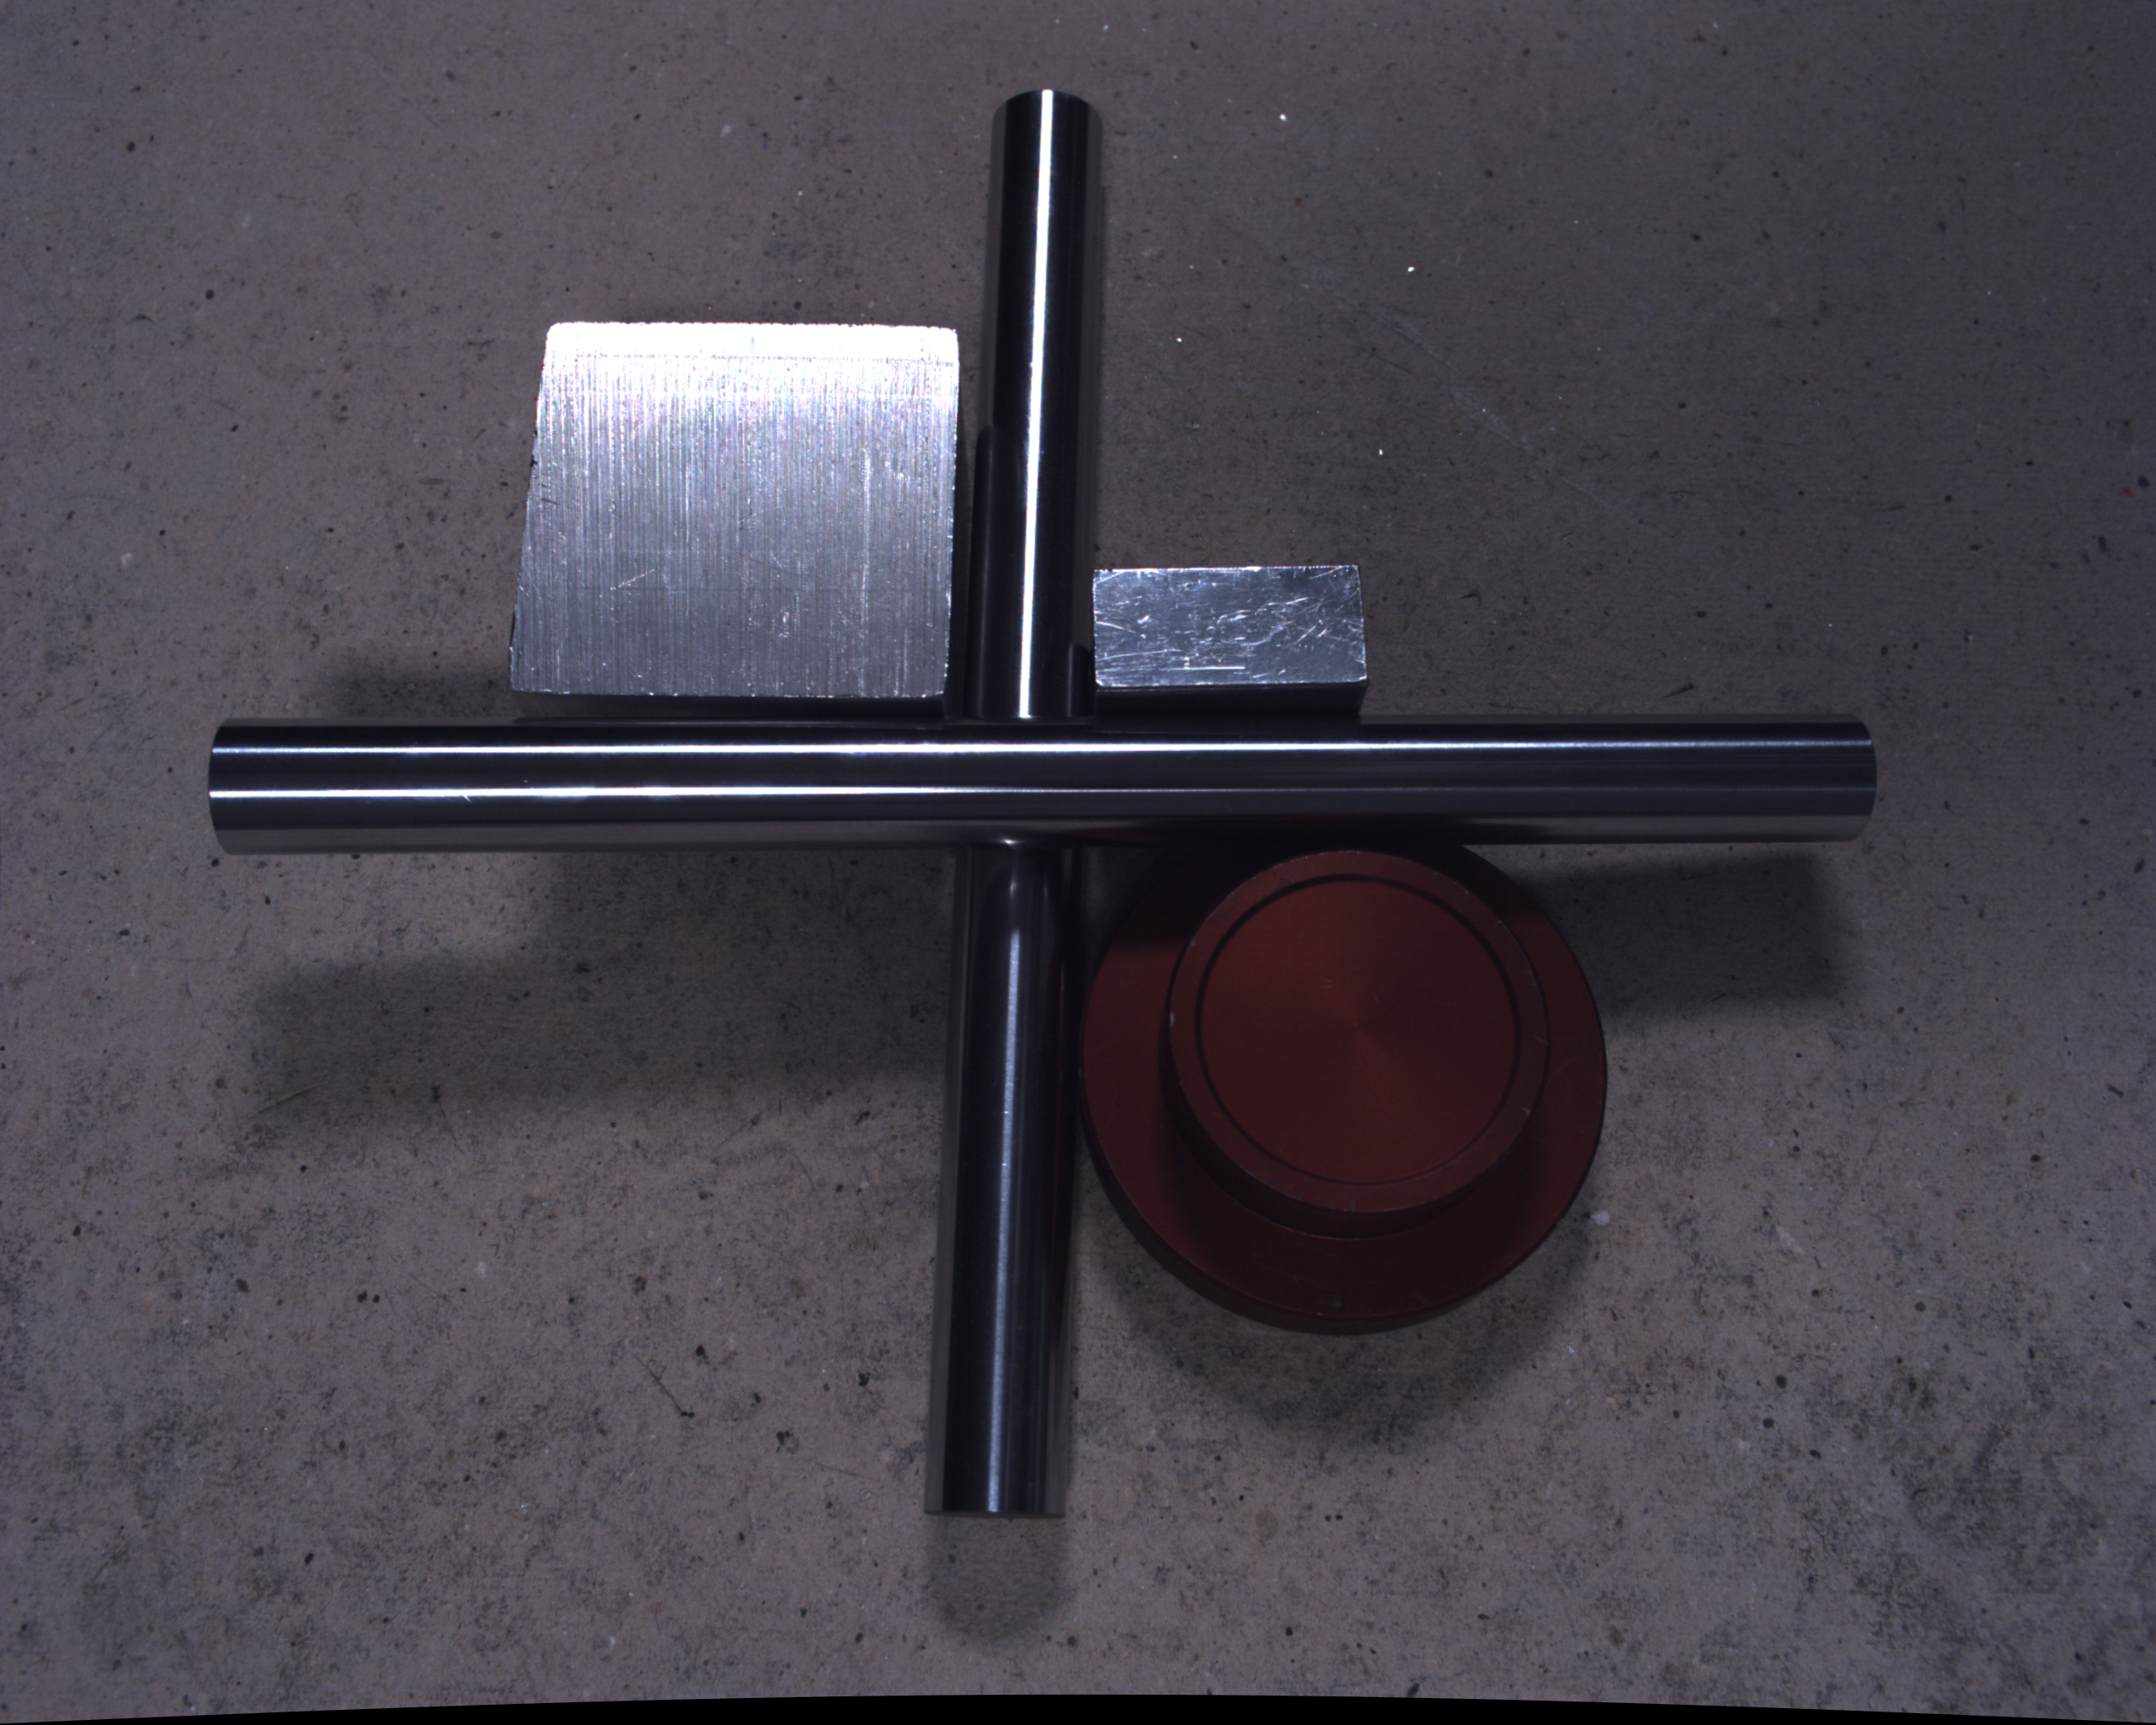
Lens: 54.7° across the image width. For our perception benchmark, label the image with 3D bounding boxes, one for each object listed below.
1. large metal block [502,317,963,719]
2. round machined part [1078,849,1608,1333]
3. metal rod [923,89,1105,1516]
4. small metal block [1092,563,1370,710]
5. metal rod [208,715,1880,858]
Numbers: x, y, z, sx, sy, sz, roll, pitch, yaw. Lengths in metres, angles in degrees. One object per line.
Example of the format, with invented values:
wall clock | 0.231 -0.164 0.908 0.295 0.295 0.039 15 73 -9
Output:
large metal block | -0.064 -0.060 0.416 0.081 0.050 0.080 1 70 0
round machined part | 0.049 0.036 0.387 0.099 0.042 0.098 0 70 -1
metal rod | -0.011 -0.025 0.418 0.025 0.025 0.299 2 70 0
small metal block | 0.028 -0.036 0.410 0.050 0.050 0.025 -1 70 -1
metal rod | -0.002 -0.015 0.388 0.302 0.025 0.025 -1 70 -5
